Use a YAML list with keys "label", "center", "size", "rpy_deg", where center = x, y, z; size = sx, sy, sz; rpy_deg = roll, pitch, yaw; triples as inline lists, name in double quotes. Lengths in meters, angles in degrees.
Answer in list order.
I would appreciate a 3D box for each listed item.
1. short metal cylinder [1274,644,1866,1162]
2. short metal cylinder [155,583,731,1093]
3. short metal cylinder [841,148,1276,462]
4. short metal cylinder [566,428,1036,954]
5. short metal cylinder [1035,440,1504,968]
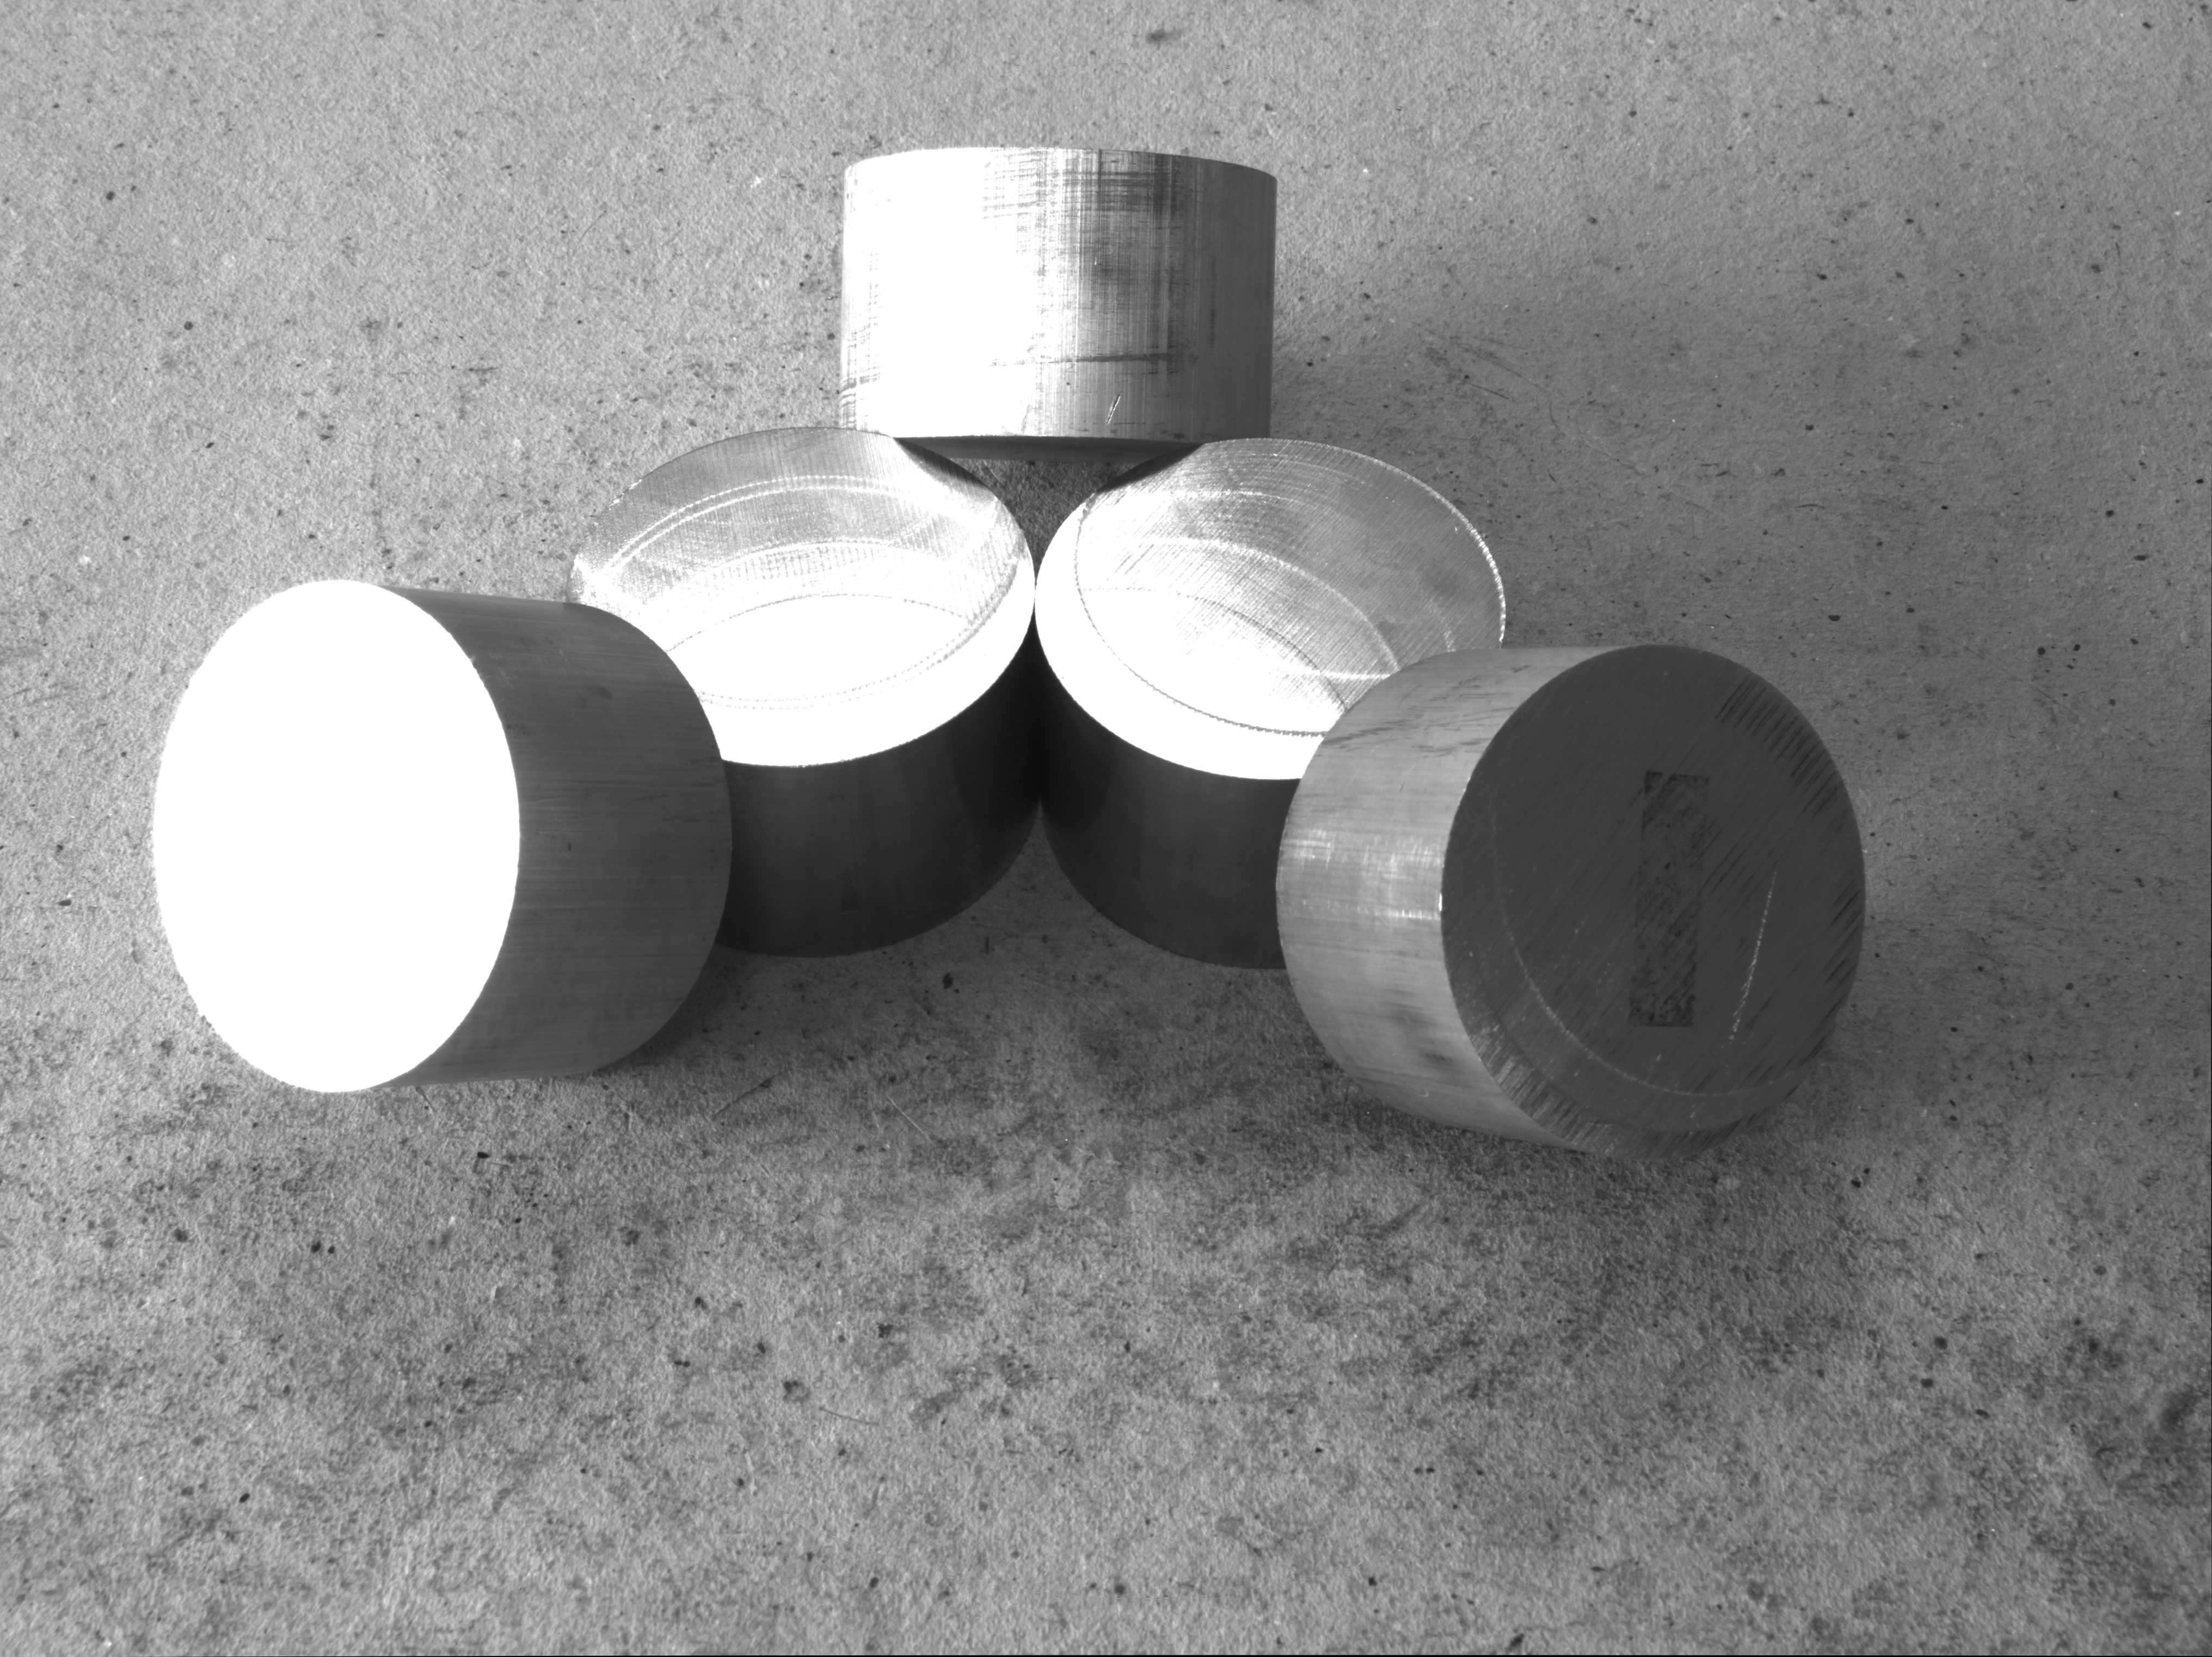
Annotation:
- label: "short metal cylinder"
  center: [0.074, 0.011, 0.589]
  size: [0.080, 0.080, 0.050]
  rpy_deg: [-30, 14, -23]
- label: "short metal cylinder"
  center: [-0.108, 0.002, 0.596]
  size: [0.080, 0.080, 0.050]
  rpy_deg: [39, 20, 28]
- label: "short metal cylinder"
  center: [-0.009, -0.095, 0.678]
  size: [0.080, 0.080, 0.050]
  rpy_deg: [1, 92, 1]
- label: "short metal cylinder"
  center: [-0.052, -0.025, 0.646]
  size: [0.080, 0.050, 0.080]
  rpy_deg: [0, 49, 0]
- label: "short metal cylinder"
  center: [0.028, -0.022, 0.644]
  size: [0.080, 0.050, 0.080]
  rpy_deg: [0, 49, 0]
